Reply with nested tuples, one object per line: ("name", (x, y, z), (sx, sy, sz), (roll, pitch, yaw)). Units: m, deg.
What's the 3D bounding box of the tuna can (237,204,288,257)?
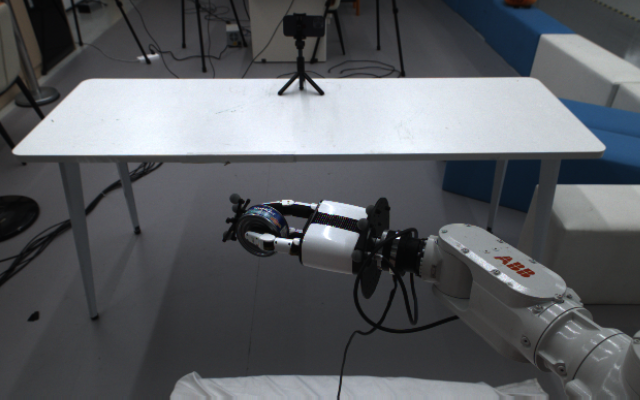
("tuna can", (-0.094, 0.053, 0.804), (0.085, 0.085, 0.034), (11, 31, 13))
